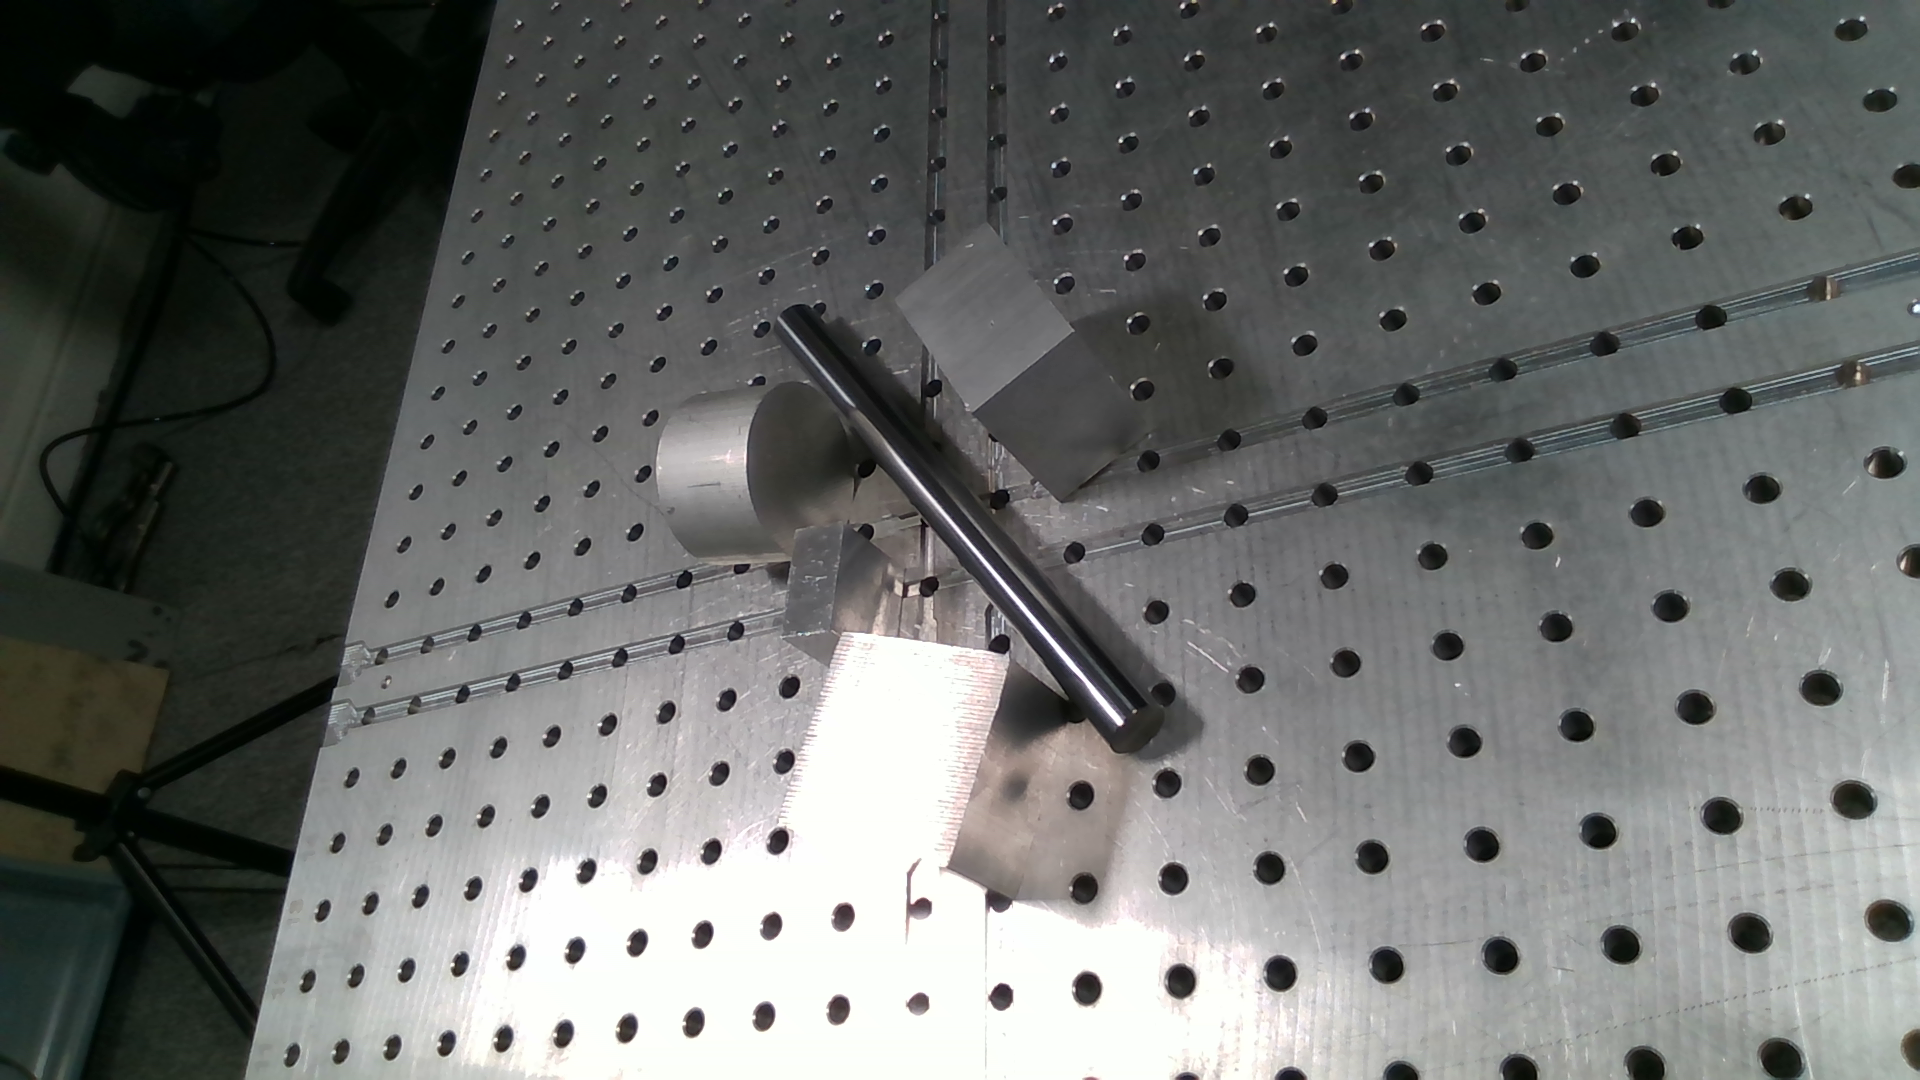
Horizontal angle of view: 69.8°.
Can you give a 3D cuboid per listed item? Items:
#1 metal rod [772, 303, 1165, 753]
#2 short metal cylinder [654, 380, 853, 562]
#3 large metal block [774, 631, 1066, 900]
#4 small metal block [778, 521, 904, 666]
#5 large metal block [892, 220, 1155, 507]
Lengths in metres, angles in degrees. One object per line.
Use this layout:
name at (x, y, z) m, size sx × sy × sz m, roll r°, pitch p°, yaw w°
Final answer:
metal rod at (-0.009, -0.020, 0.604) m, size 0.025 × 0.025 × 0.299 m, roll -44°, pitch 51°, yaw 5°
short metal cylinder at (-0.092, -0.030, 0.625) m, size 0.050 × 0.080 × 0.080 m, roll -3°, pitch 64°, yaw 30°
large metal block at (-0.014, 0.086, 0.532) m, size 0.080 × 0.050 × 0.080 m, roll 5°, pitch 69°, yaw 34°
small metal block at (-0.050, 0.027, 0.589) m, size 0.025 × 0.050 × 0.050 m, roll -9°, pitch 61°, yaw 27°
large metal block at (0.027, -0.073, 0.576) m, size 0.050 × 0.080 × 0.080 m, roll -39°, pitch 52°, yaw 8°
